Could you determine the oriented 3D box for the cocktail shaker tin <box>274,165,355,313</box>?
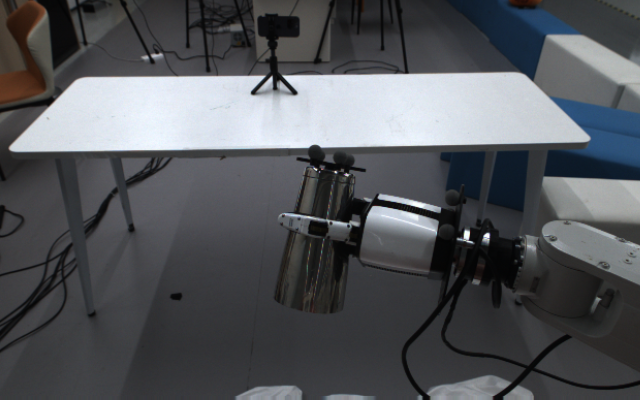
[{"bbox_3d":[0.000,0.047,0.617,0.093,0.170,0.093,10,3,-1],"label":"cocktail shaker tin"}]
